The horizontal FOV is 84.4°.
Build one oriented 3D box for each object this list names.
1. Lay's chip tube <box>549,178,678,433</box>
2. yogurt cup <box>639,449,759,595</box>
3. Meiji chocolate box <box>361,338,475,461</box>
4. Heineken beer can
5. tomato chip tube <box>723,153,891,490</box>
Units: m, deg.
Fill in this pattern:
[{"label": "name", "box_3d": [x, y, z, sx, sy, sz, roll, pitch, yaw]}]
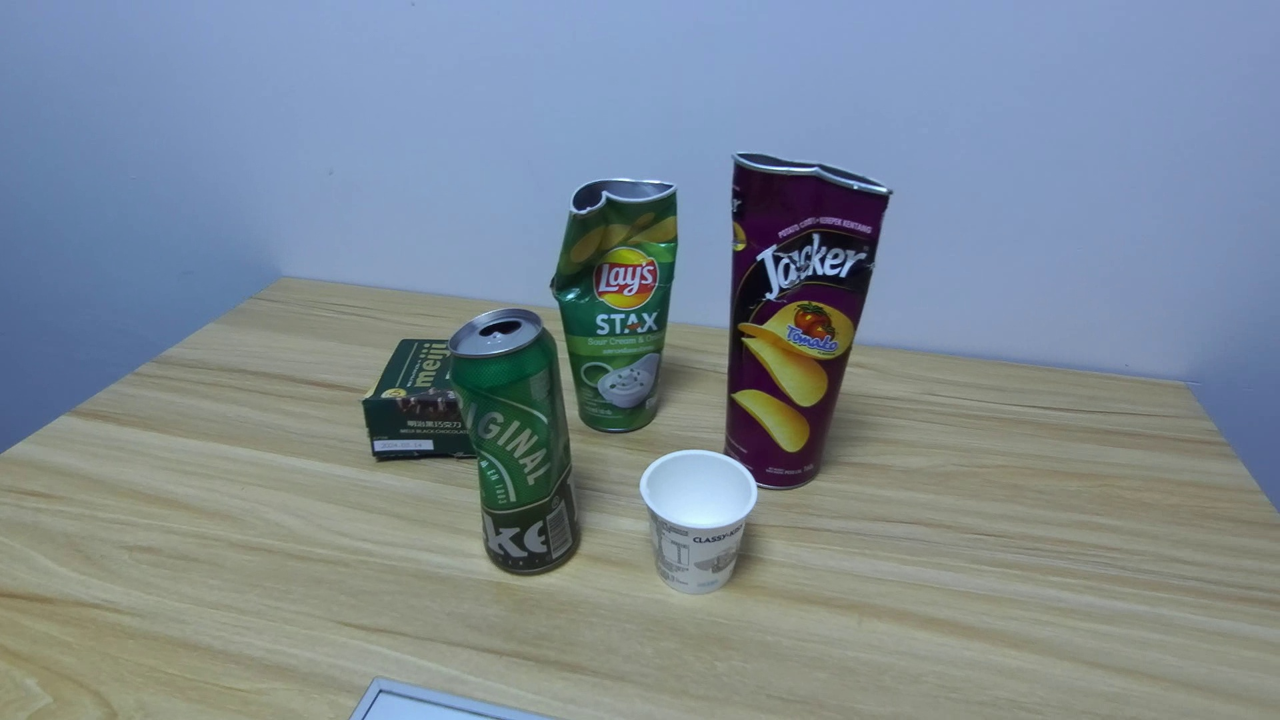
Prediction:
[{"label": "Lay's chip tube", "box_3d": [-0.019, -0.040, 0.559, 0.069, 0.201, 0.077, 23, 41, 32]}, {"label": "yogurt cup", "box_3d": [0.037, 0.106, 0.450, 0.072, 0.068, 0.072, 0, 33, 1]}, {"label": "Meiji chocolate box", "box_3d": [-0.159, 0.029, 0.595, 0.122, 0.058, 0.115, 0, 31, -1]}, {"label": "Heineken beer can", "box_3d": [-0.077, 0.055, 0.443, 0.068, 0.168, 0.069, -24, 35, -29]}, {"label": "tomato chip tube", "box_3d": [0.103, -0.020, 0.497, 0.078, 0.236, 0.090, -3, 35, -4]}]
